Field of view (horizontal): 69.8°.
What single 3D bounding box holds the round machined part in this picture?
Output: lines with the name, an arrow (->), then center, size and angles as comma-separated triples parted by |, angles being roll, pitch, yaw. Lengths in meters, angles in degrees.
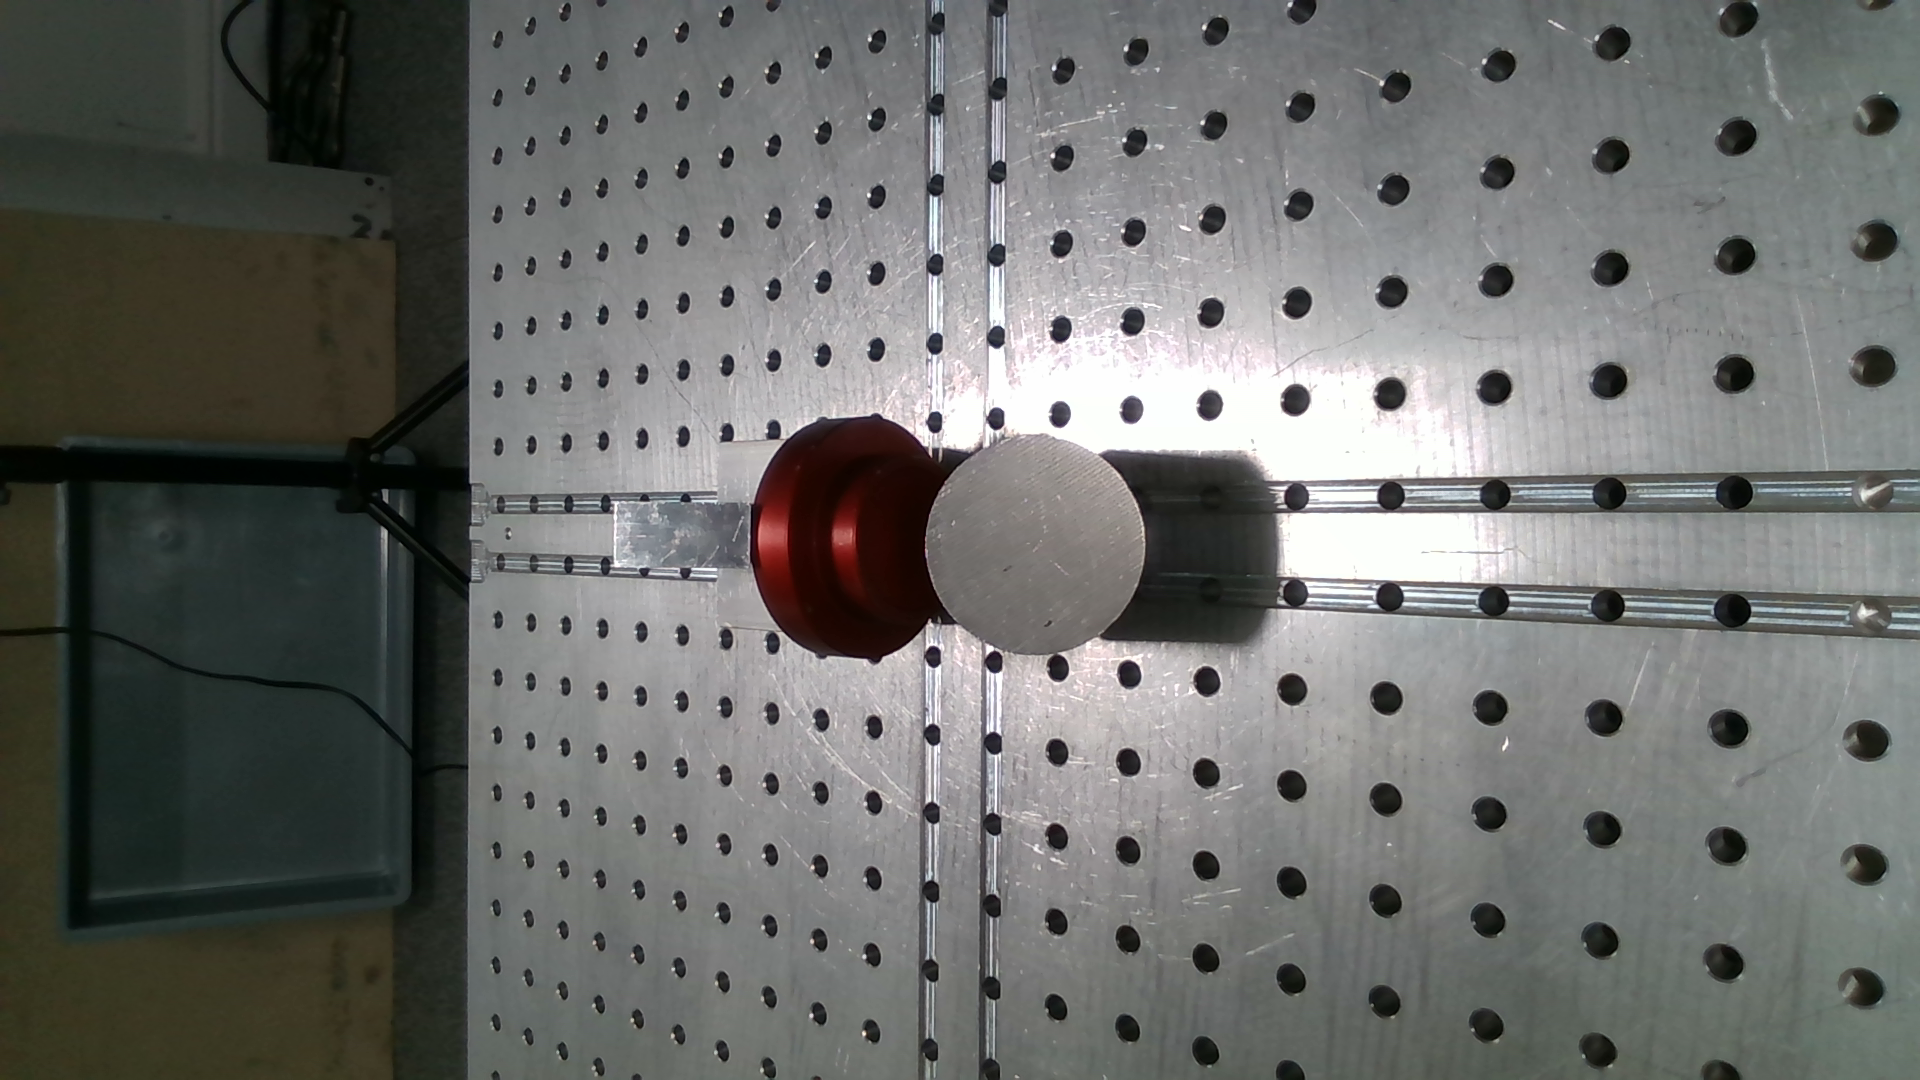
round machined part -> -0.035, 0.000, 0.553 | 0.042, 0.098, 0.098 | 1, 91, 40

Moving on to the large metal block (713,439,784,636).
large metal block -> -0.060, -0.001, 0.598 | 0.050, 0.080, 0.080 | 1, 91, 40

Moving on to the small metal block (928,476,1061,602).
small metal block -> 0.014, -0.001, 0.572 | 0.050, 0.025, 0.050 | 1, 91, 40

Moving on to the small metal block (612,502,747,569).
small metal block -> -0.111, -0.002, 0.543 | 0.050, 0.050, 0.025 | -173, 84, -78

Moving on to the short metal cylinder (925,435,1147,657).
short metal cylinder -> 0.031, 0.002, 0.520 | 0.080, 0.050, 0.080 | 0, 91, 10
